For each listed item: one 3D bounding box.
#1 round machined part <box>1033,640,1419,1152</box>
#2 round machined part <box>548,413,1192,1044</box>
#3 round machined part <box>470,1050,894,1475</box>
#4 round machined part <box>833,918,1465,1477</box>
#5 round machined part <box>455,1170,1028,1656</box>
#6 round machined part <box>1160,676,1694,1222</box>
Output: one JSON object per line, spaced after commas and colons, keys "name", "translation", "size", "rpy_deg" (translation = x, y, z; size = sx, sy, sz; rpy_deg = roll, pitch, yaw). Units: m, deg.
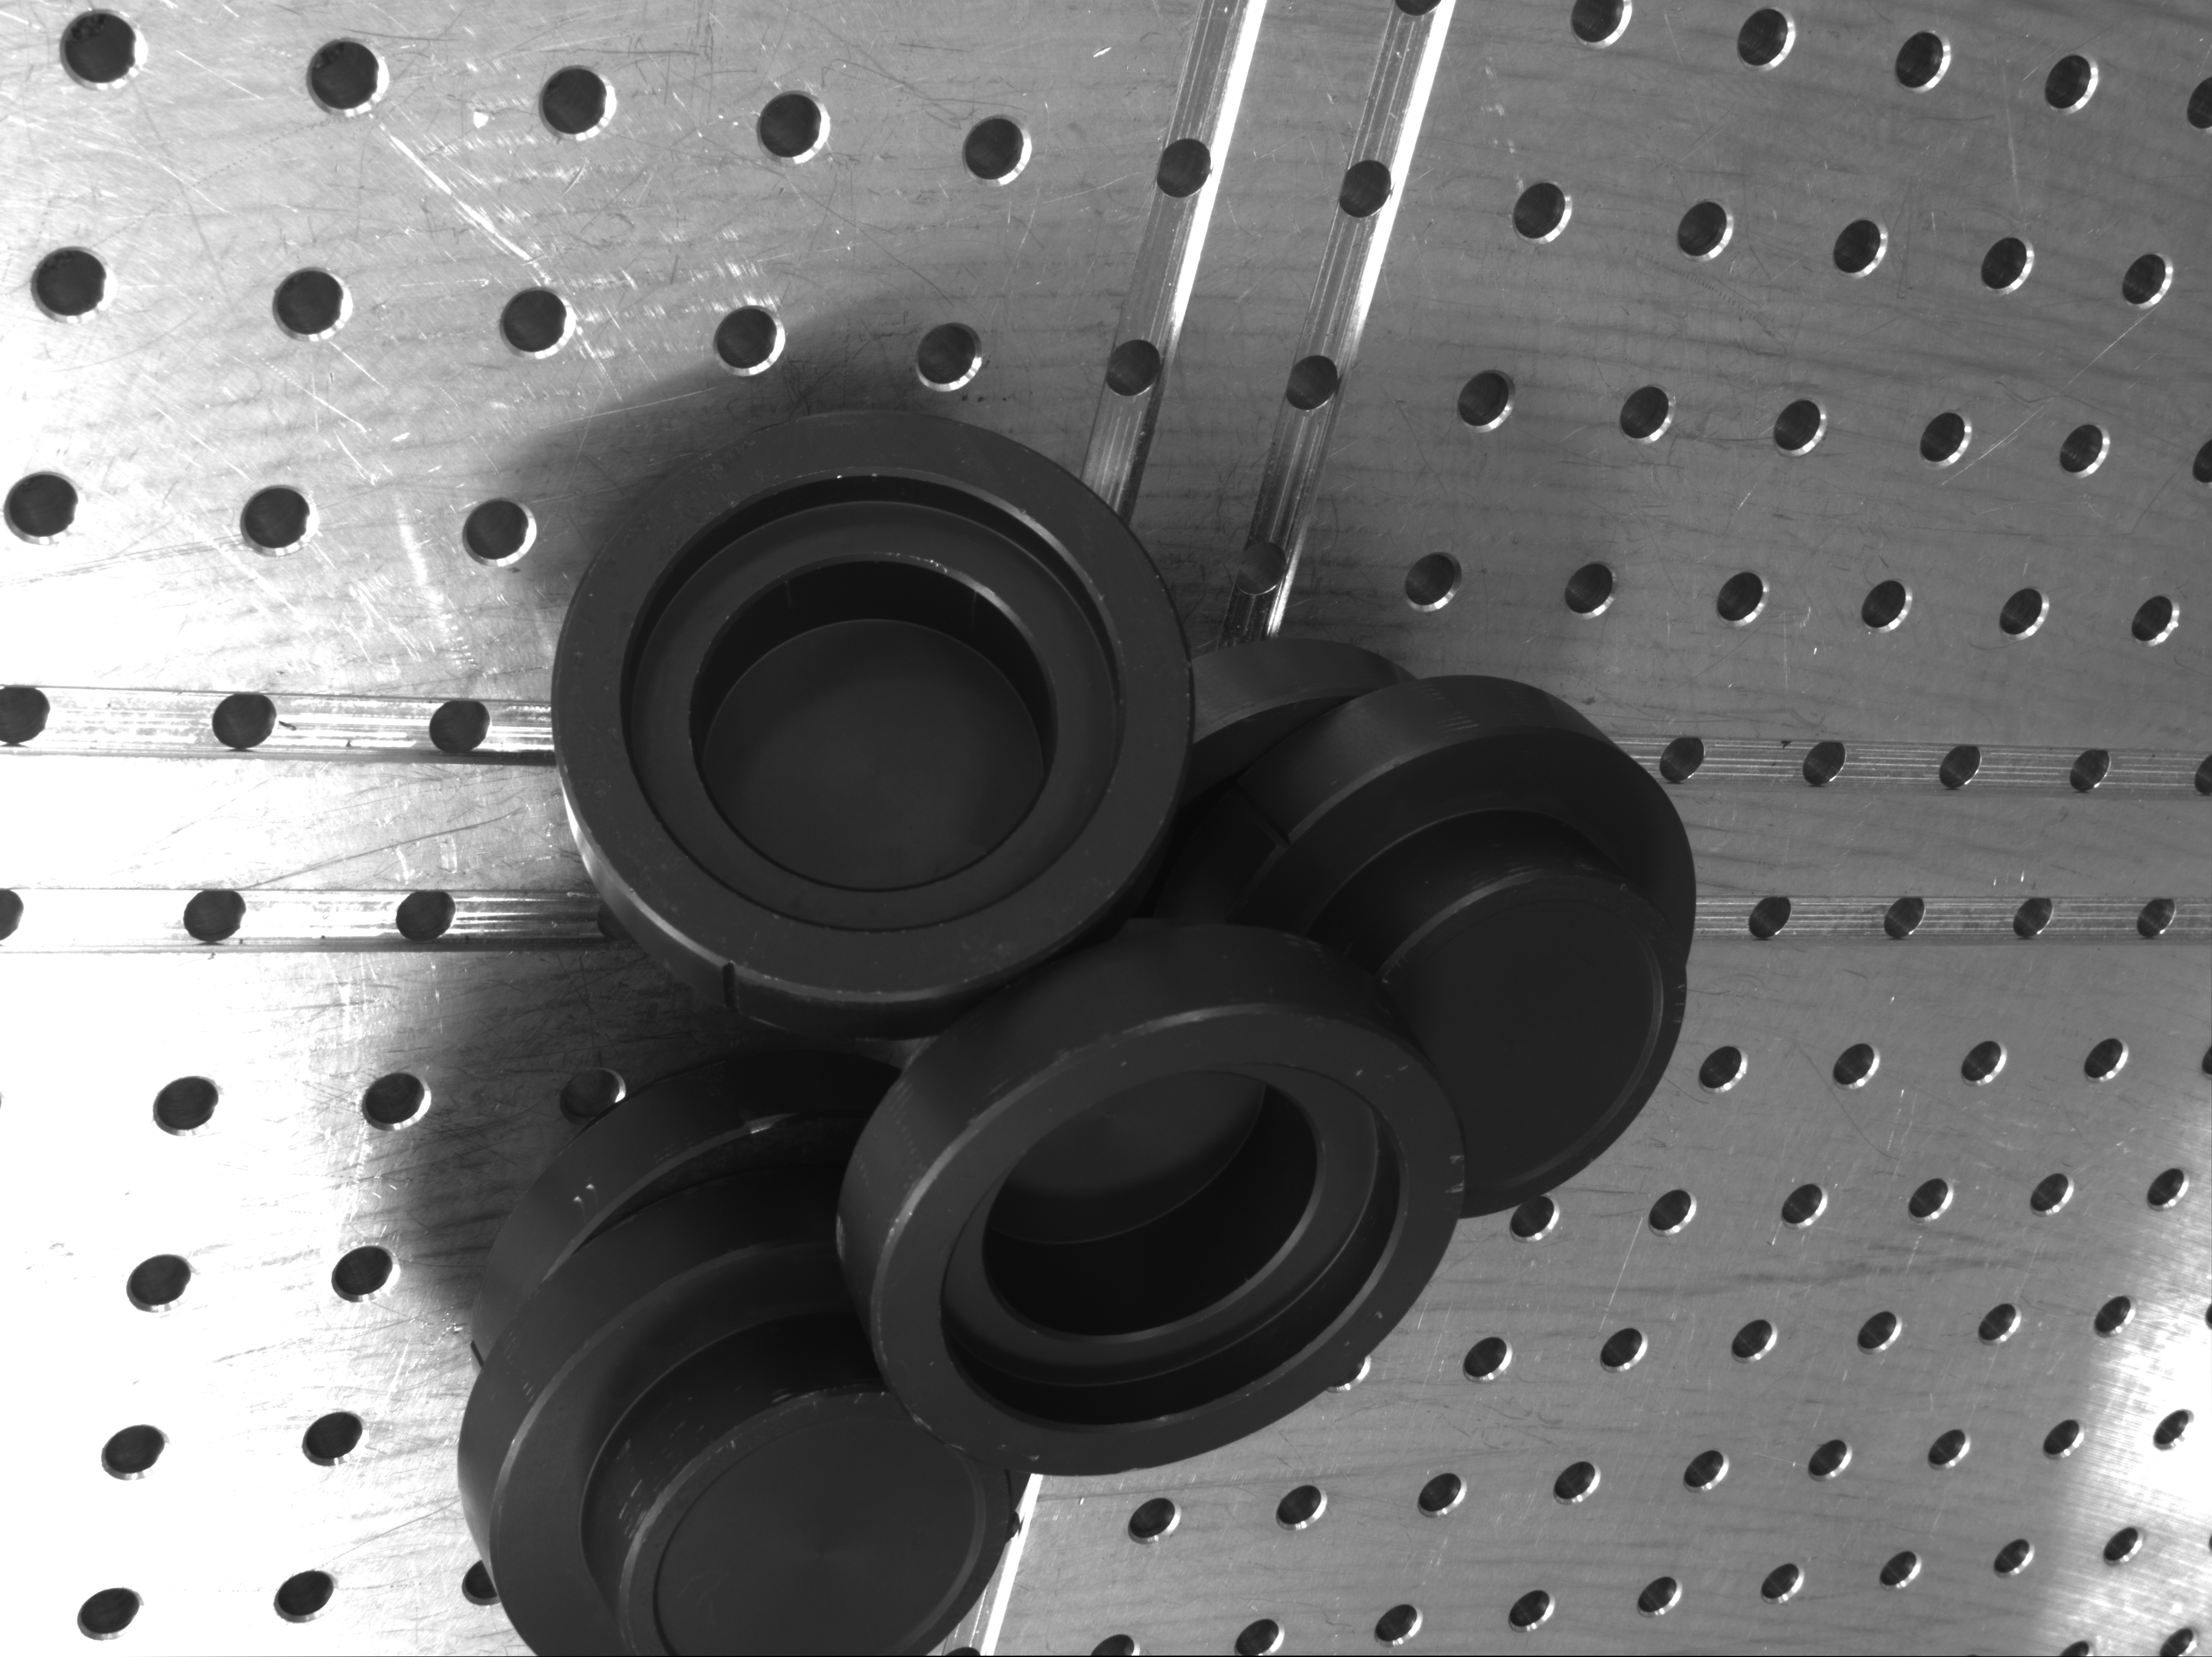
{"name": "round machined part", "translation": [0.029, 0.020, 0.631], "size": [0.098, 0.042, 0.098], "rpy_deg": [-13, 124, -21]}
{"name": "round machined part", "translation": [-0.037, -0.012, 0.578], "size": [0.098, 0.098, 0.042], "rpy_deg": [-25, 162, -13]}
{"name": "round machined part", "translation": [-0.055, 0.090, 0.628], "size": [0.098, 0.042, 0.098], "rpy_deg": [-13, 124, -21]}
{"name": "round machined part", "translation": [0.004, 0.053, 0.582], "size": [0.098, 0.042, 0.098], "rpy_deg": [-13, 130, -15]}
{"name": "round machined part", "translation": [-0.055, 0.109, 0.612], "size": [0.098, 0.042, 0.098], "rpy_deg": [-13, 124, -21]}
{"name": "round machined part", "translation": [0.058, 0.027, 0.622], "size": [0.098, 0.042, 0.098], "rpy_deg": [-13, 123, -21]}
